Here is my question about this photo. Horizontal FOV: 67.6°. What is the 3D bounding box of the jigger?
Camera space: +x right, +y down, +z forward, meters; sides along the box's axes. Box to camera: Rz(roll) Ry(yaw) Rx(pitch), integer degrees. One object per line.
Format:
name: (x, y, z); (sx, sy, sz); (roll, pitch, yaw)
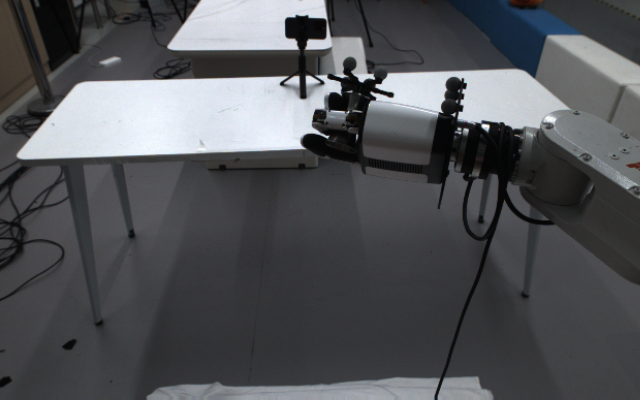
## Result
jigger: (0.037, -0.100, 0.620); (0.043, 0.071, 0.043); (18, -6, 2)
